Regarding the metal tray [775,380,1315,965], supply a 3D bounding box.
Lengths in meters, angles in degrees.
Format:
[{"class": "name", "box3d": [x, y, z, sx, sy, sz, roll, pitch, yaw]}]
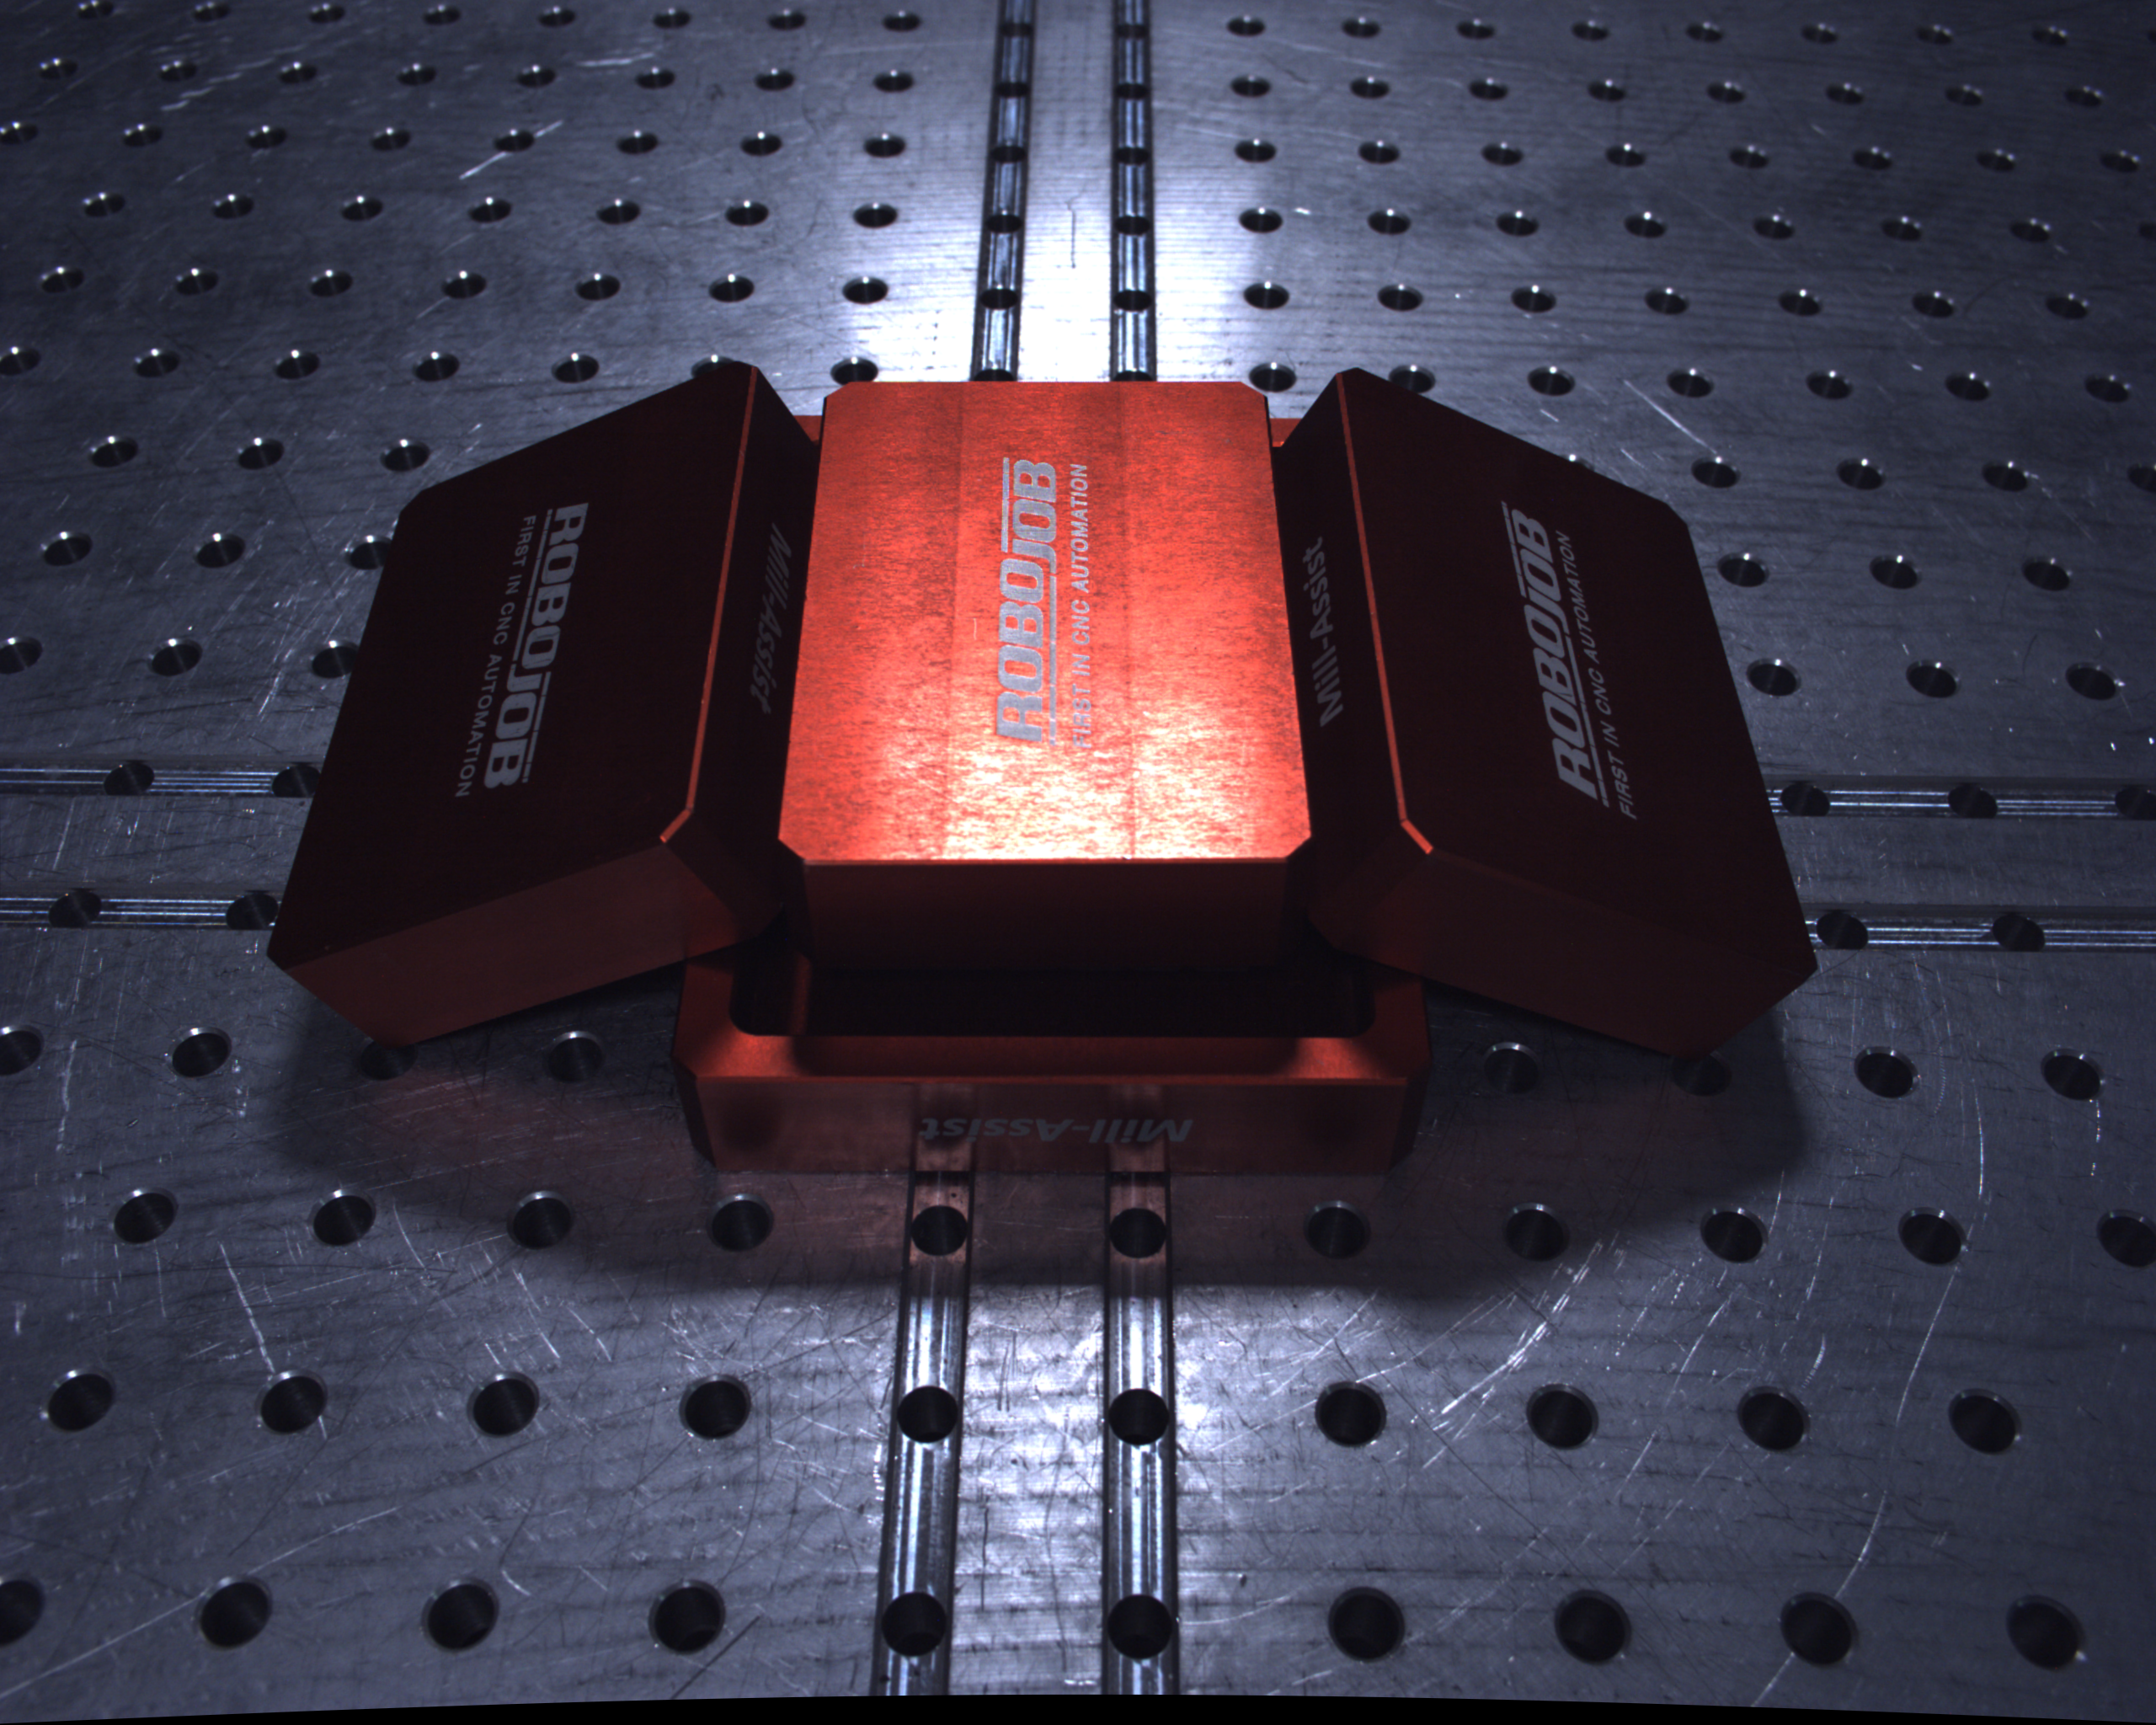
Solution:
[{"class": "metal tray", "box3d": [-0.006, -0.041, 0.399, 0.091, 0.030, 0.130, 0, 50, -1]}]

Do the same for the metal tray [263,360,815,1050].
[{"class": "metal tray", "box3d": [-0.100, -0.034, 0.408, 0.090, 0.030, 0.130, -17, 47, 19]}]

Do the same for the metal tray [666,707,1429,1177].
[{"class": "metal tray", "box3d": [-0.005, 0.013, 0.394, 0.131, 0.030, 0.090, 0, 50, 0]}]

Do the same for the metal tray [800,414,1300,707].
[{"class": "metal tray", "box3d": [-0.006, -0.057, 0.452, 0.131, 0.030, 0.090, 0, 50, 0]}]

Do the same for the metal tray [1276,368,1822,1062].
[{"class": "metal tray", "box3d": [0.087, -0.032, 0.407, 0.091, 0.030, 0.130, 18, 47, -21]}]
